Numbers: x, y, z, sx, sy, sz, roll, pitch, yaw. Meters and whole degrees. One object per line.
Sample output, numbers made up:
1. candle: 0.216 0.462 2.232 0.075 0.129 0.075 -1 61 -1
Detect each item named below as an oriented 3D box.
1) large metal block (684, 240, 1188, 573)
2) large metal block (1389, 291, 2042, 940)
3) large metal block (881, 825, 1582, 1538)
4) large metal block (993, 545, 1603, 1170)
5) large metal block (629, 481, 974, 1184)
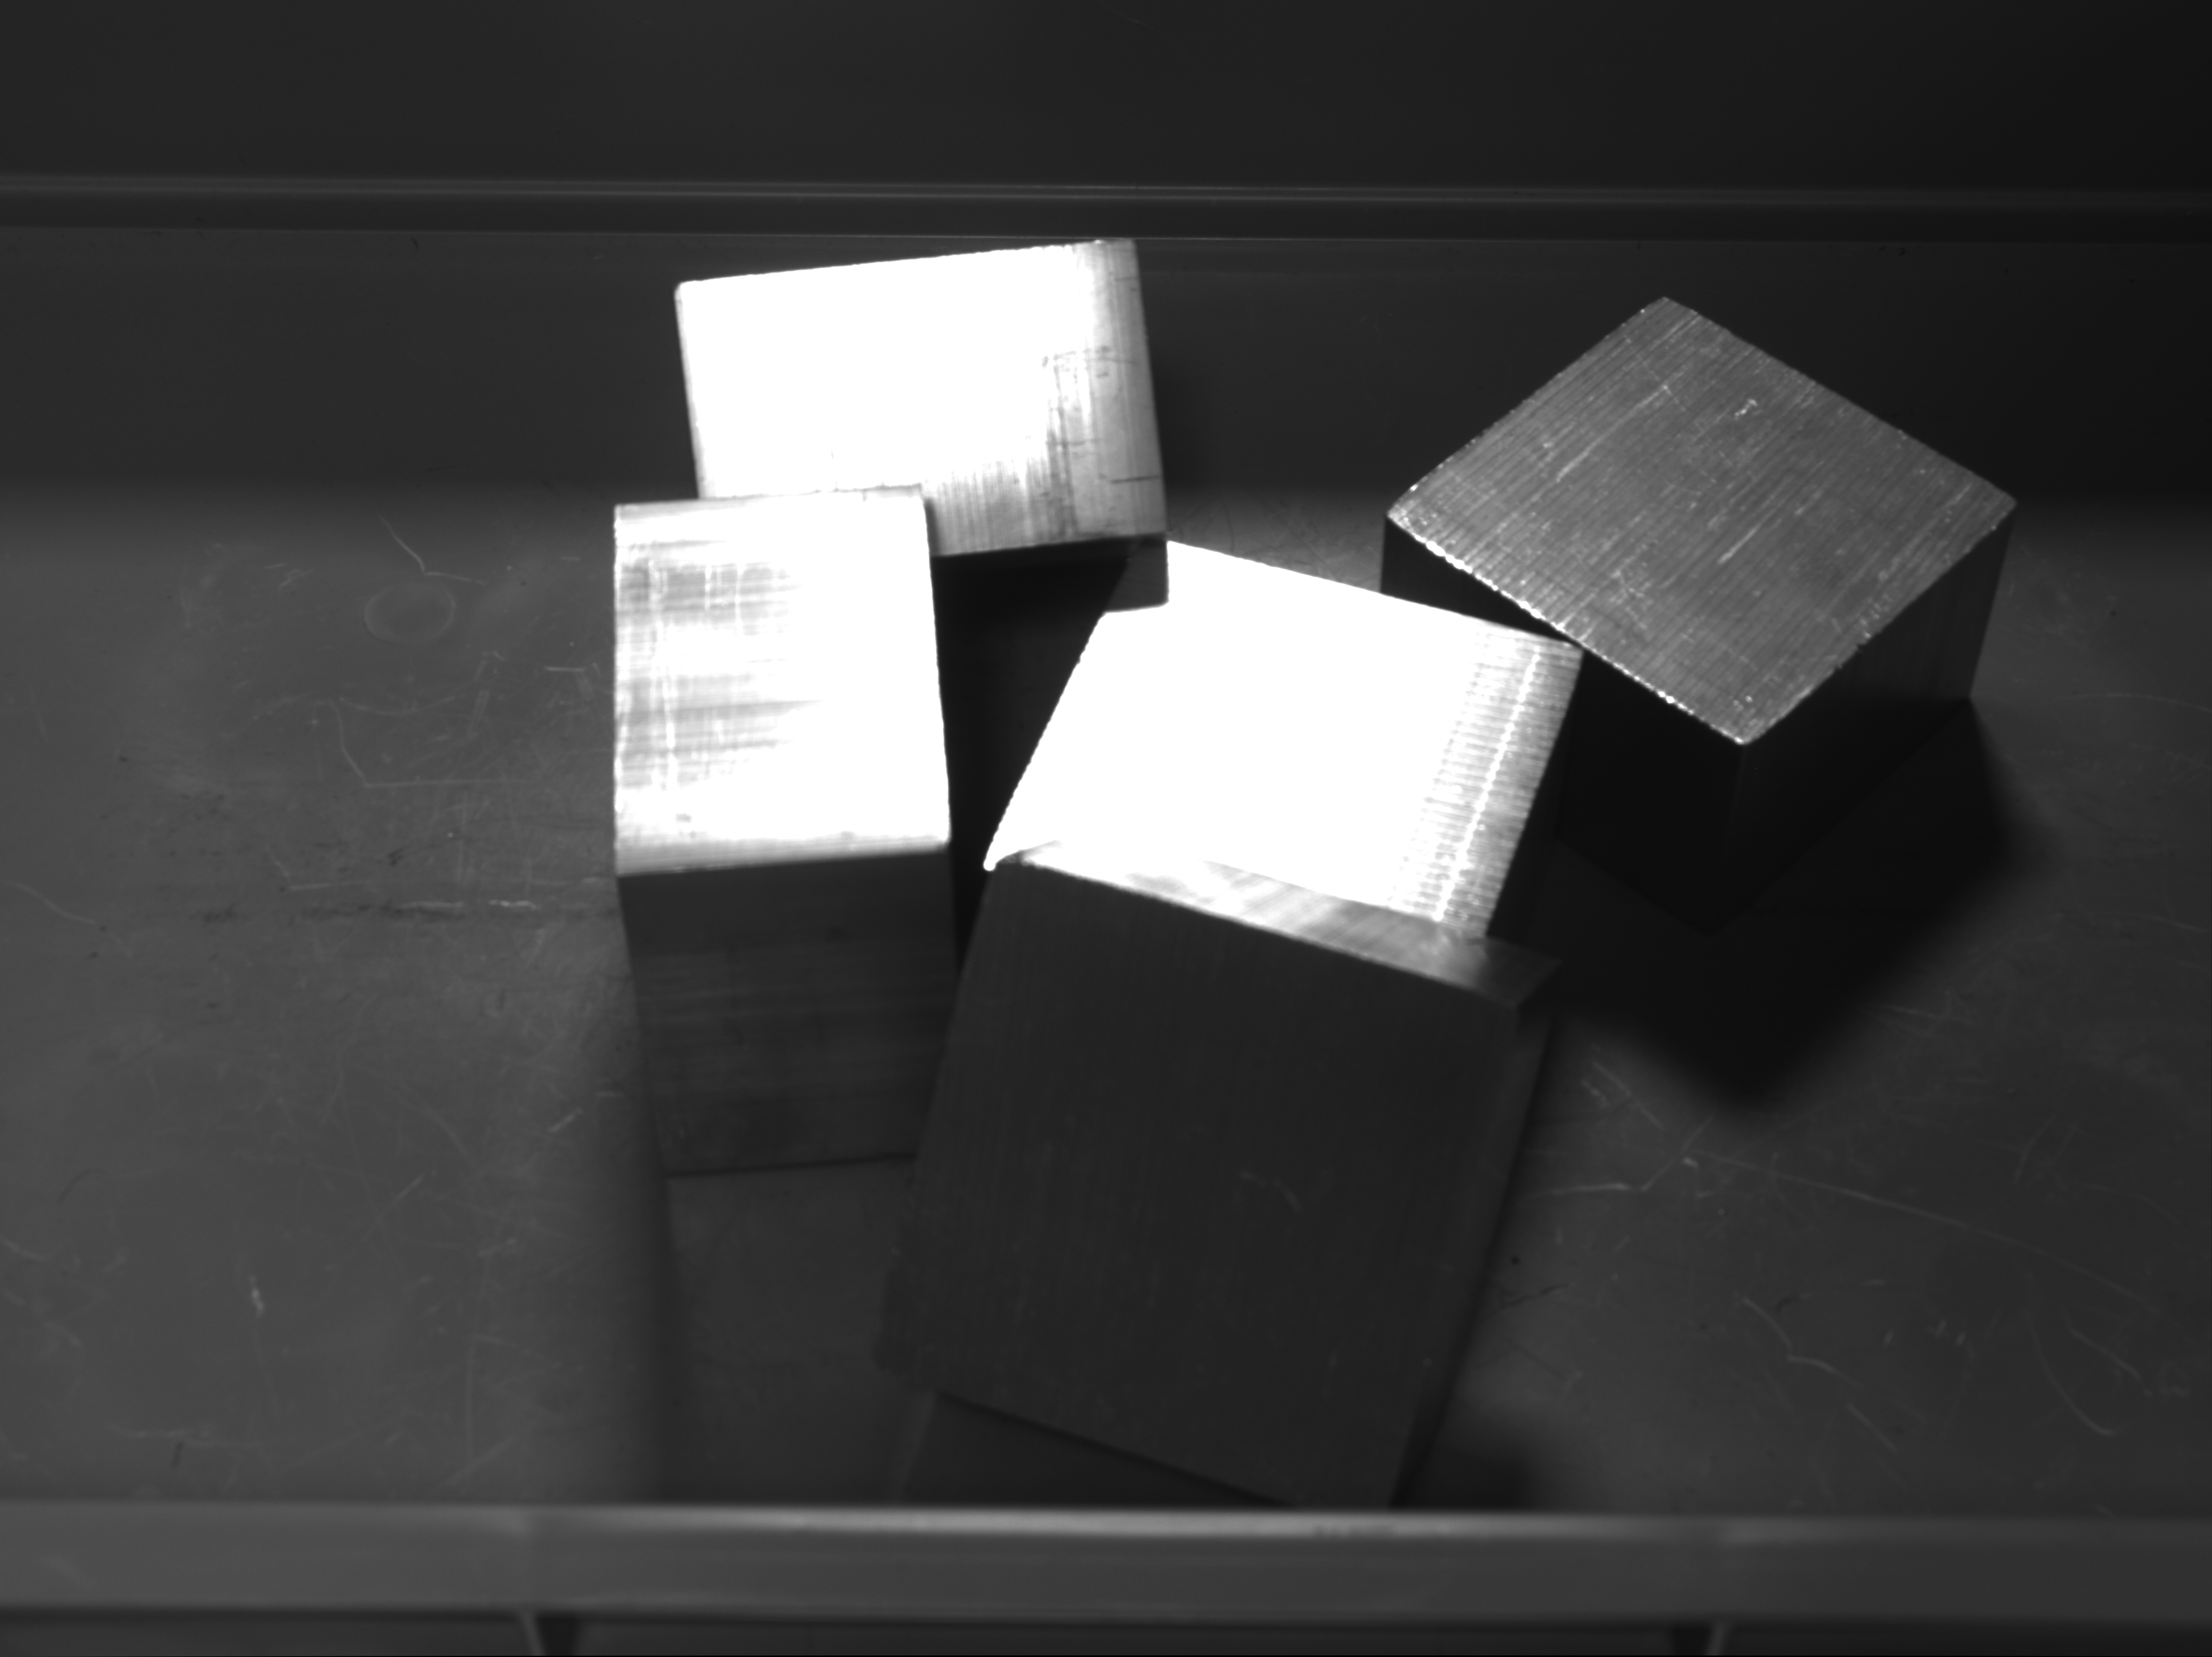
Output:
1. large metal block: -0.031 -0.071 0.657 0.080 0.080 0.050 -6 92 -4
2. large metal block: 0.107 -0.040 0.658 0.080 0.050 0.080 36 59 27
3. large metal block: 0.020 0.051 0.554 0.080 0.080 0.050 16 9 12
4. large metal block: 0.033 0.005 0.621 0.080 0.050 0.080 15 51 12
5. large metal block: -0.049 0.001 0.604 0.050 0.080 0.080 -4 50 -3
